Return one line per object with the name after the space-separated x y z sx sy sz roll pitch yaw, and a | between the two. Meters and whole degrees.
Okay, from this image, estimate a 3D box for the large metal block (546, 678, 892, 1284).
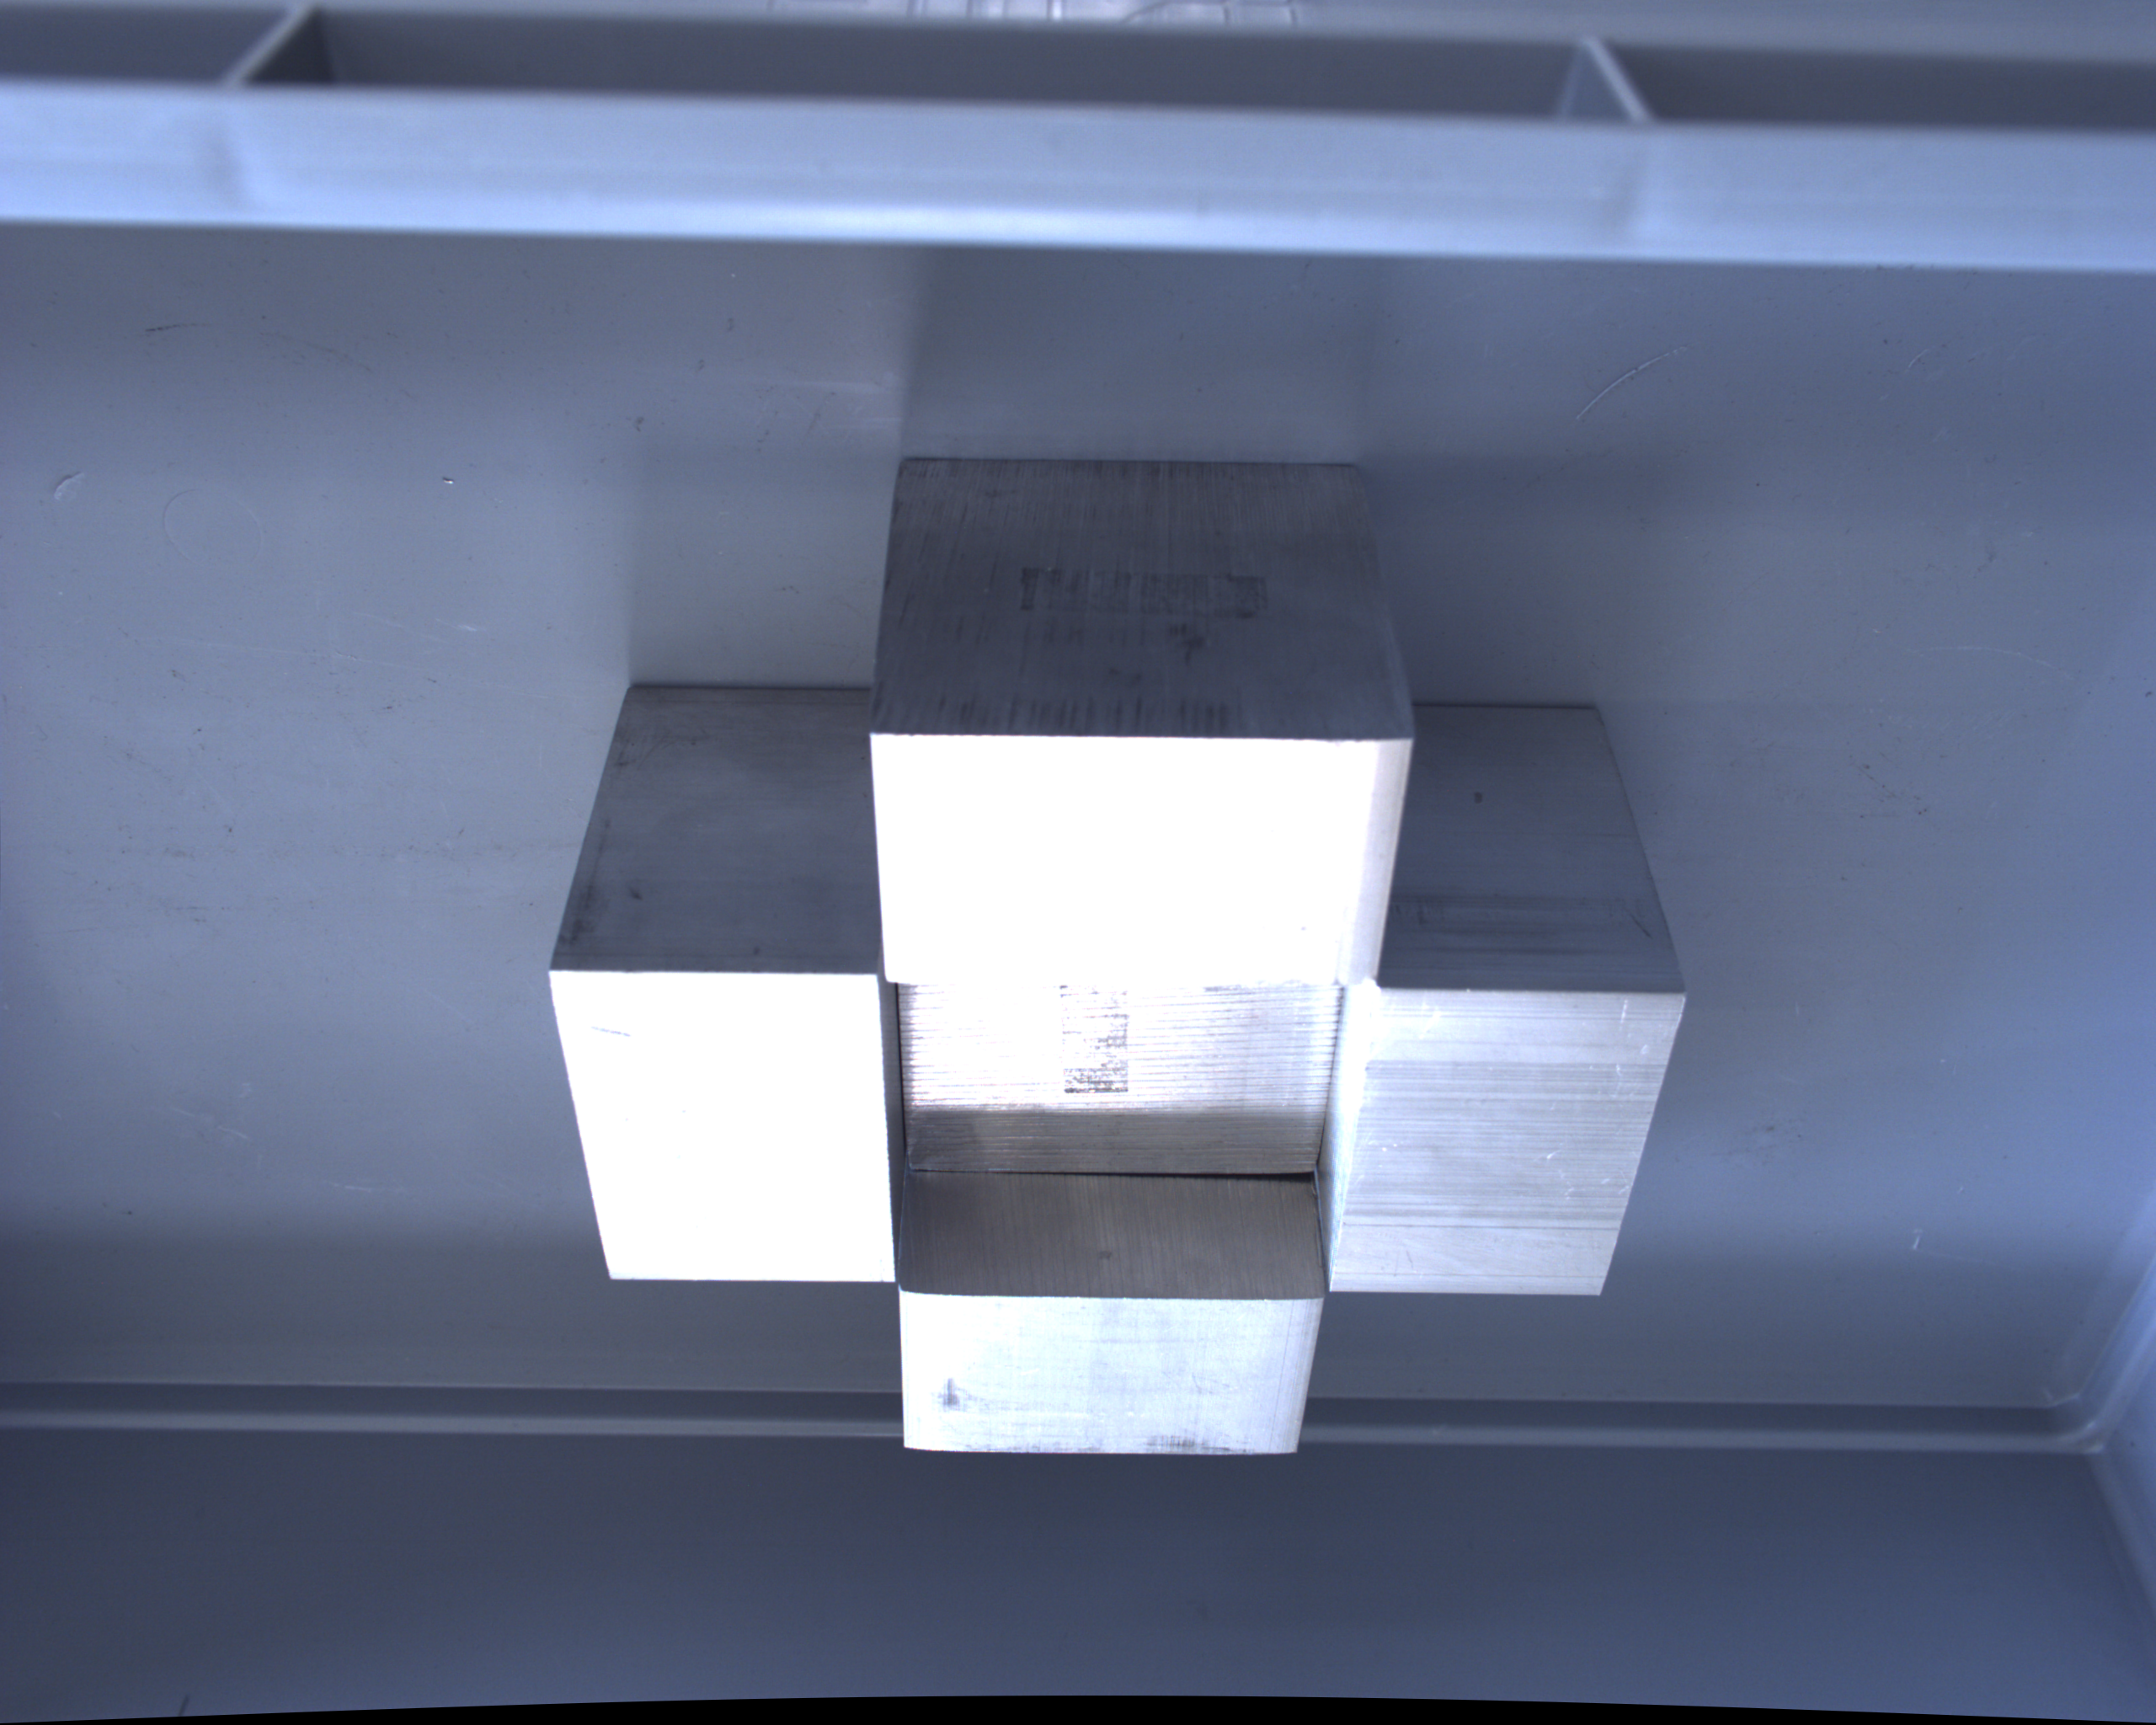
-0.060 0.021 0.389 0.050 0.080 0.079 1 130 -1 | large metal block

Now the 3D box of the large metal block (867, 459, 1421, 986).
0.009 -0.025 0.349 0.081 0.080 0.050 1 130 -1 | large metal block

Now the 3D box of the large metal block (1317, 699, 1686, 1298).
0.073 0.025 0.394 0.050 0.080 0.079 1 130 -1 | large metal block

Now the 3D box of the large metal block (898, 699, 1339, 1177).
0.008 0.015 0.402 0.081 0.050 0.079 0 130 -1 | large metal block

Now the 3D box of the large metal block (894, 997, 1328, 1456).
0.005 0.074 0.434 0.081 0.080 0.050 1 130 -1 | large metal block
